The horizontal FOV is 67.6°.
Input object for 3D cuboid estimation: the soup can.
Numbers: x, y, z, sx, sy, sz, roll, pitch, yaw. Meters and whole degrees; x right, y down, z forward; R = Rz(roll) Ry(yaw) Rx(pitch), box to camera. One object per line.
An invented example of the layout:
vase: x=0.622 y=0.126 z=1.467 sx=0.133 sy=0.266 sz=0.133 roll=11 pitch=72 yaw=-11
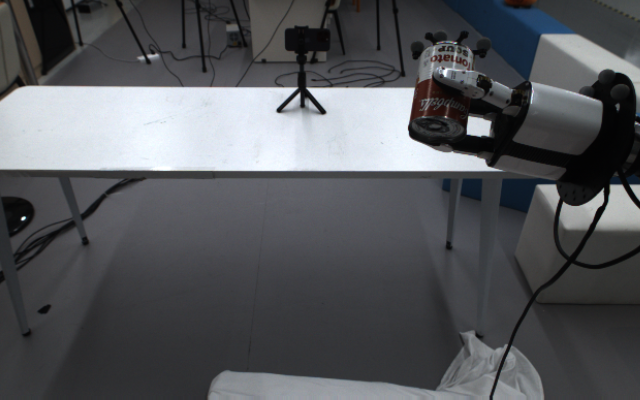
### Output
soup can: x=0.148 y=-0.130 z=0.581 sx=0.067 sy=0.067 sz=0.101 roll=9 pitch=74 yaw=9
